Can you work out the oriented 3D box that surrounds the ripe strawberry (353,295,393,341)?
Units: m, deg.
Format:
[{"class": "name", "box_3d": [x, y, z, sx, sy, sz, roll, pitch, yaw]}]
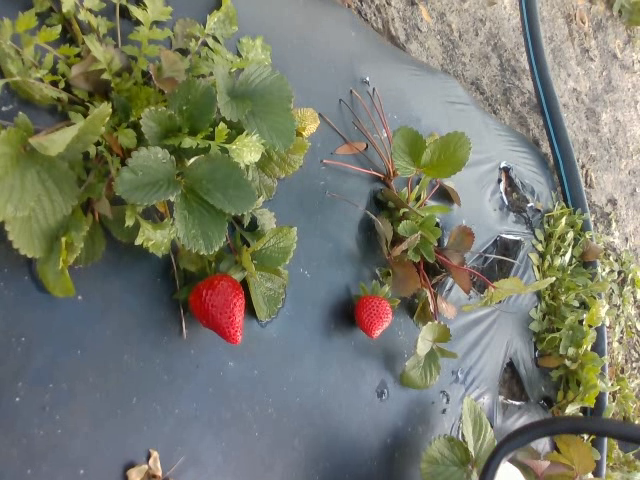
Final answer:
[{"class": "ripe strawberry", "box_3d": [0.045, 0.070, 0.500, 0.042, 0.044, 0.052, 1, 35, 7]}]

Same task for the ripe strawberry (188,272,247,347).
[{"class": "ripe strawberry", "box_3d": [-0.065, 0.050, 0.388, 0.046, 0.051, 0.050, -32, 45, -3]}]
